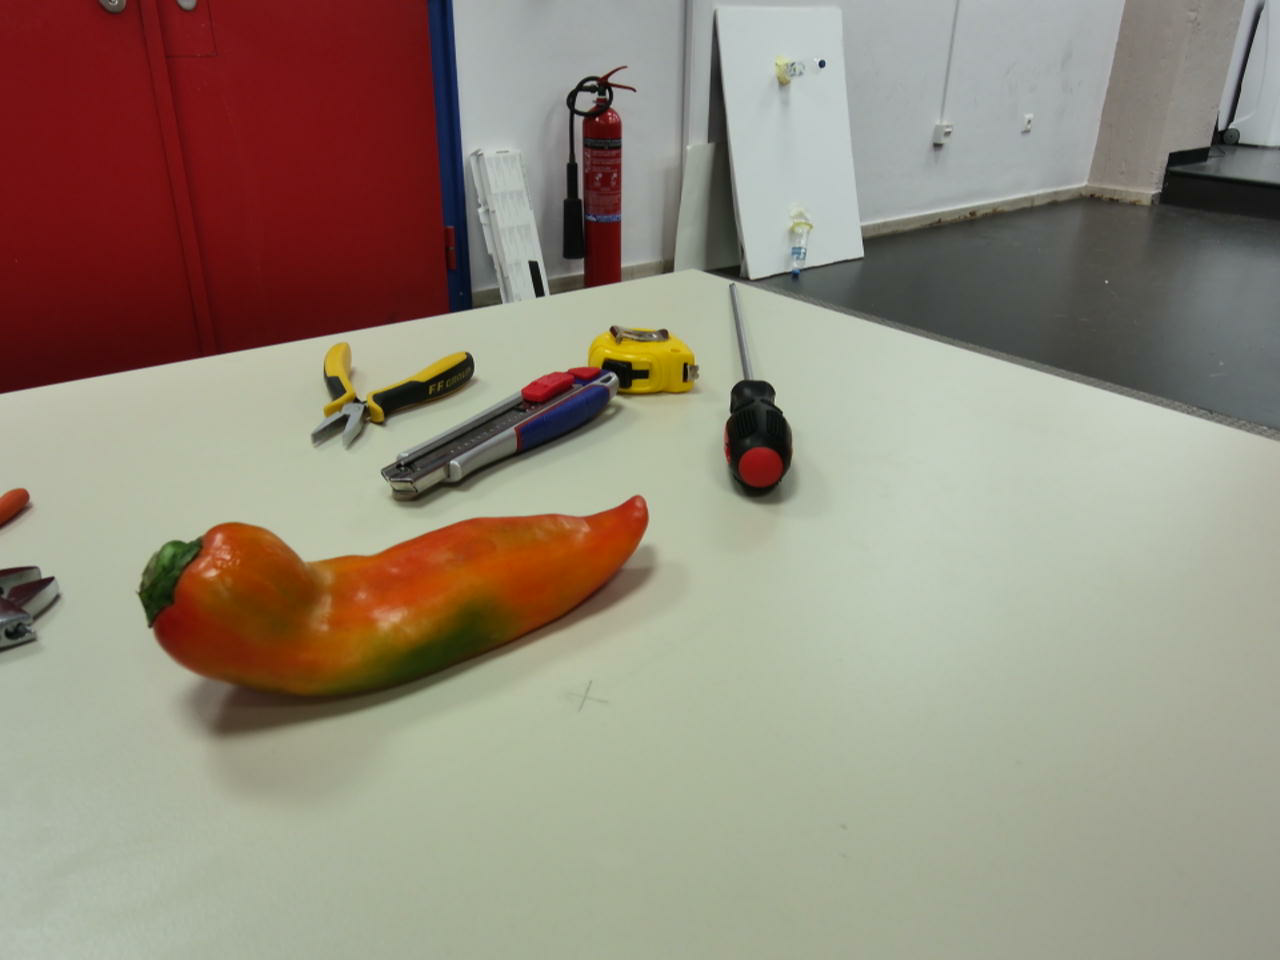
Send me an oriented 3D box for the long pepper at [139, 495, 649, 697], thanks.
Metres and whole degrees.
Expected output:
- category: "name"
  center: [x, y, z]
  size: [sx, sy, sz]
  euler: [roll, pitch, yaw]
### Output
- category: "long pepper"
  center: [-0.076, 0.029, 0.375]
  size: [0.199, 0.065, 0.066]
  euler: [-15, 27, -31]
